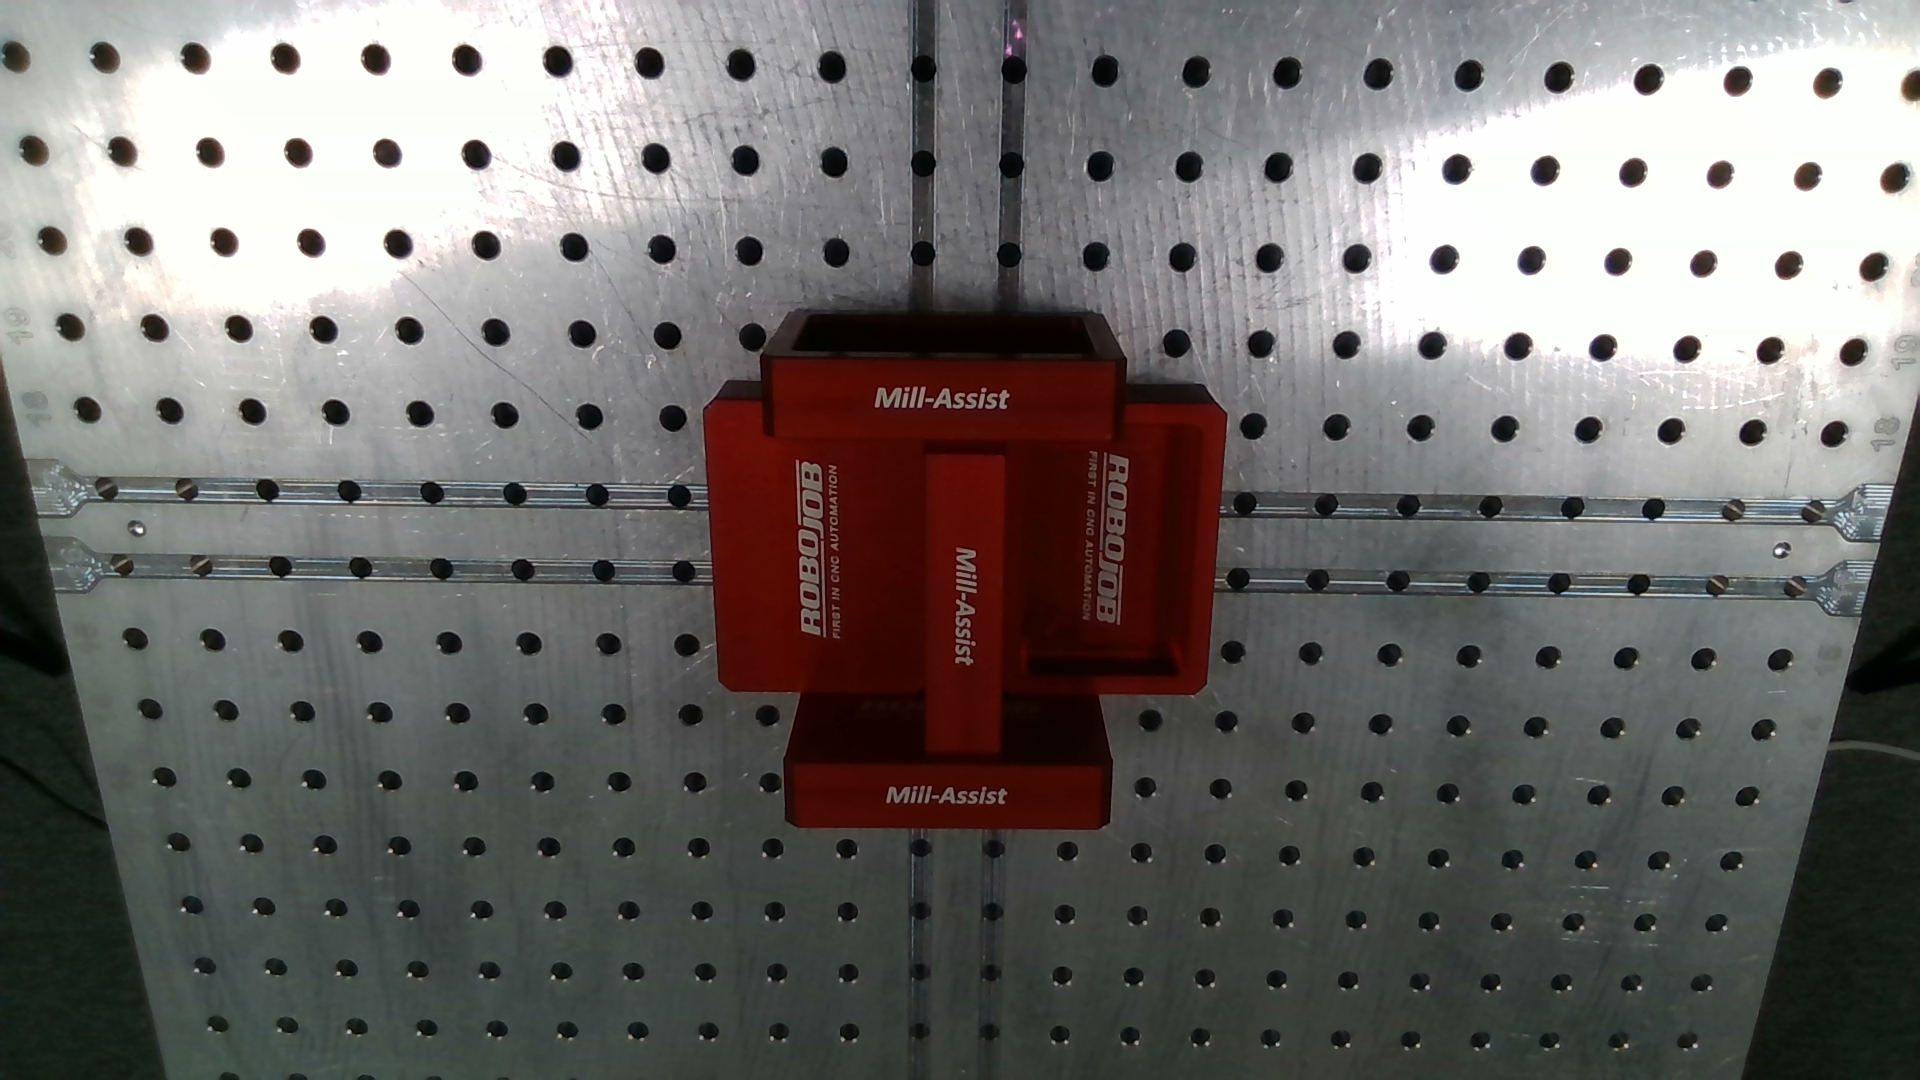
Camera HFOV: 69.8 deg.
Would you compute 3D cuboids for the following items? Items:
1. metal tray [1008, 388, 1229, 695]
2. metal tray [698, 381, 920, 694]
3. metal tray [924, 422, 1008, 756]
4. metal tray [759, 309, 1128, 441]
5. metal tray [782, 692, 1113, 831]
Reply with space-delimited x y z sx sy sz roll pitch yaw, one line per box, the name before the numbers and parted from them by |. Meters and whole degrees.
metal tray | 0.062 0.001 0.584 0.090 0.030 0.130 0 110 0
metal tray | -0.060 0.000 0.583 0.090 0.030 0.130 0 110 0
metal tray | 0.002 0.010 0.554 0.030 0.090 0.130 1 110 0
metal tray | -0.006 -0.065 0.528 0.130 0.090 0.030 1 110 0
metal tray | -0.005 0.086 0.584 0.130 0.090 0.030 1 110 0
